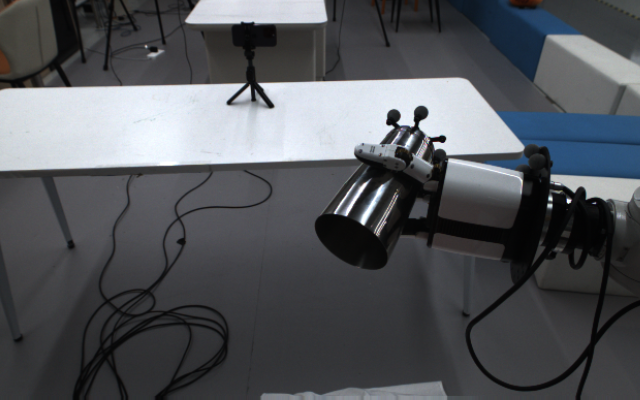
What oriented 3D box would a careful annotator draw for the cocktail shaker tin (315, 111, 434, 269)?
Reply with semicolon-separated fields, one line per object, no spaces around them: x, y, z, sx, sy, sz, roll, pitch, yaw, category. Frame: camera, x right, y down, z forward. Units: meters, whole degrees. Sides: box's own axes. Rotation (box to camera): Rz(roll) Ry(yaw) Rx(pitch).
0.078;-0.016;0.576;0.093;0.093;0.170;19;55;22;cocktail shaker tin
